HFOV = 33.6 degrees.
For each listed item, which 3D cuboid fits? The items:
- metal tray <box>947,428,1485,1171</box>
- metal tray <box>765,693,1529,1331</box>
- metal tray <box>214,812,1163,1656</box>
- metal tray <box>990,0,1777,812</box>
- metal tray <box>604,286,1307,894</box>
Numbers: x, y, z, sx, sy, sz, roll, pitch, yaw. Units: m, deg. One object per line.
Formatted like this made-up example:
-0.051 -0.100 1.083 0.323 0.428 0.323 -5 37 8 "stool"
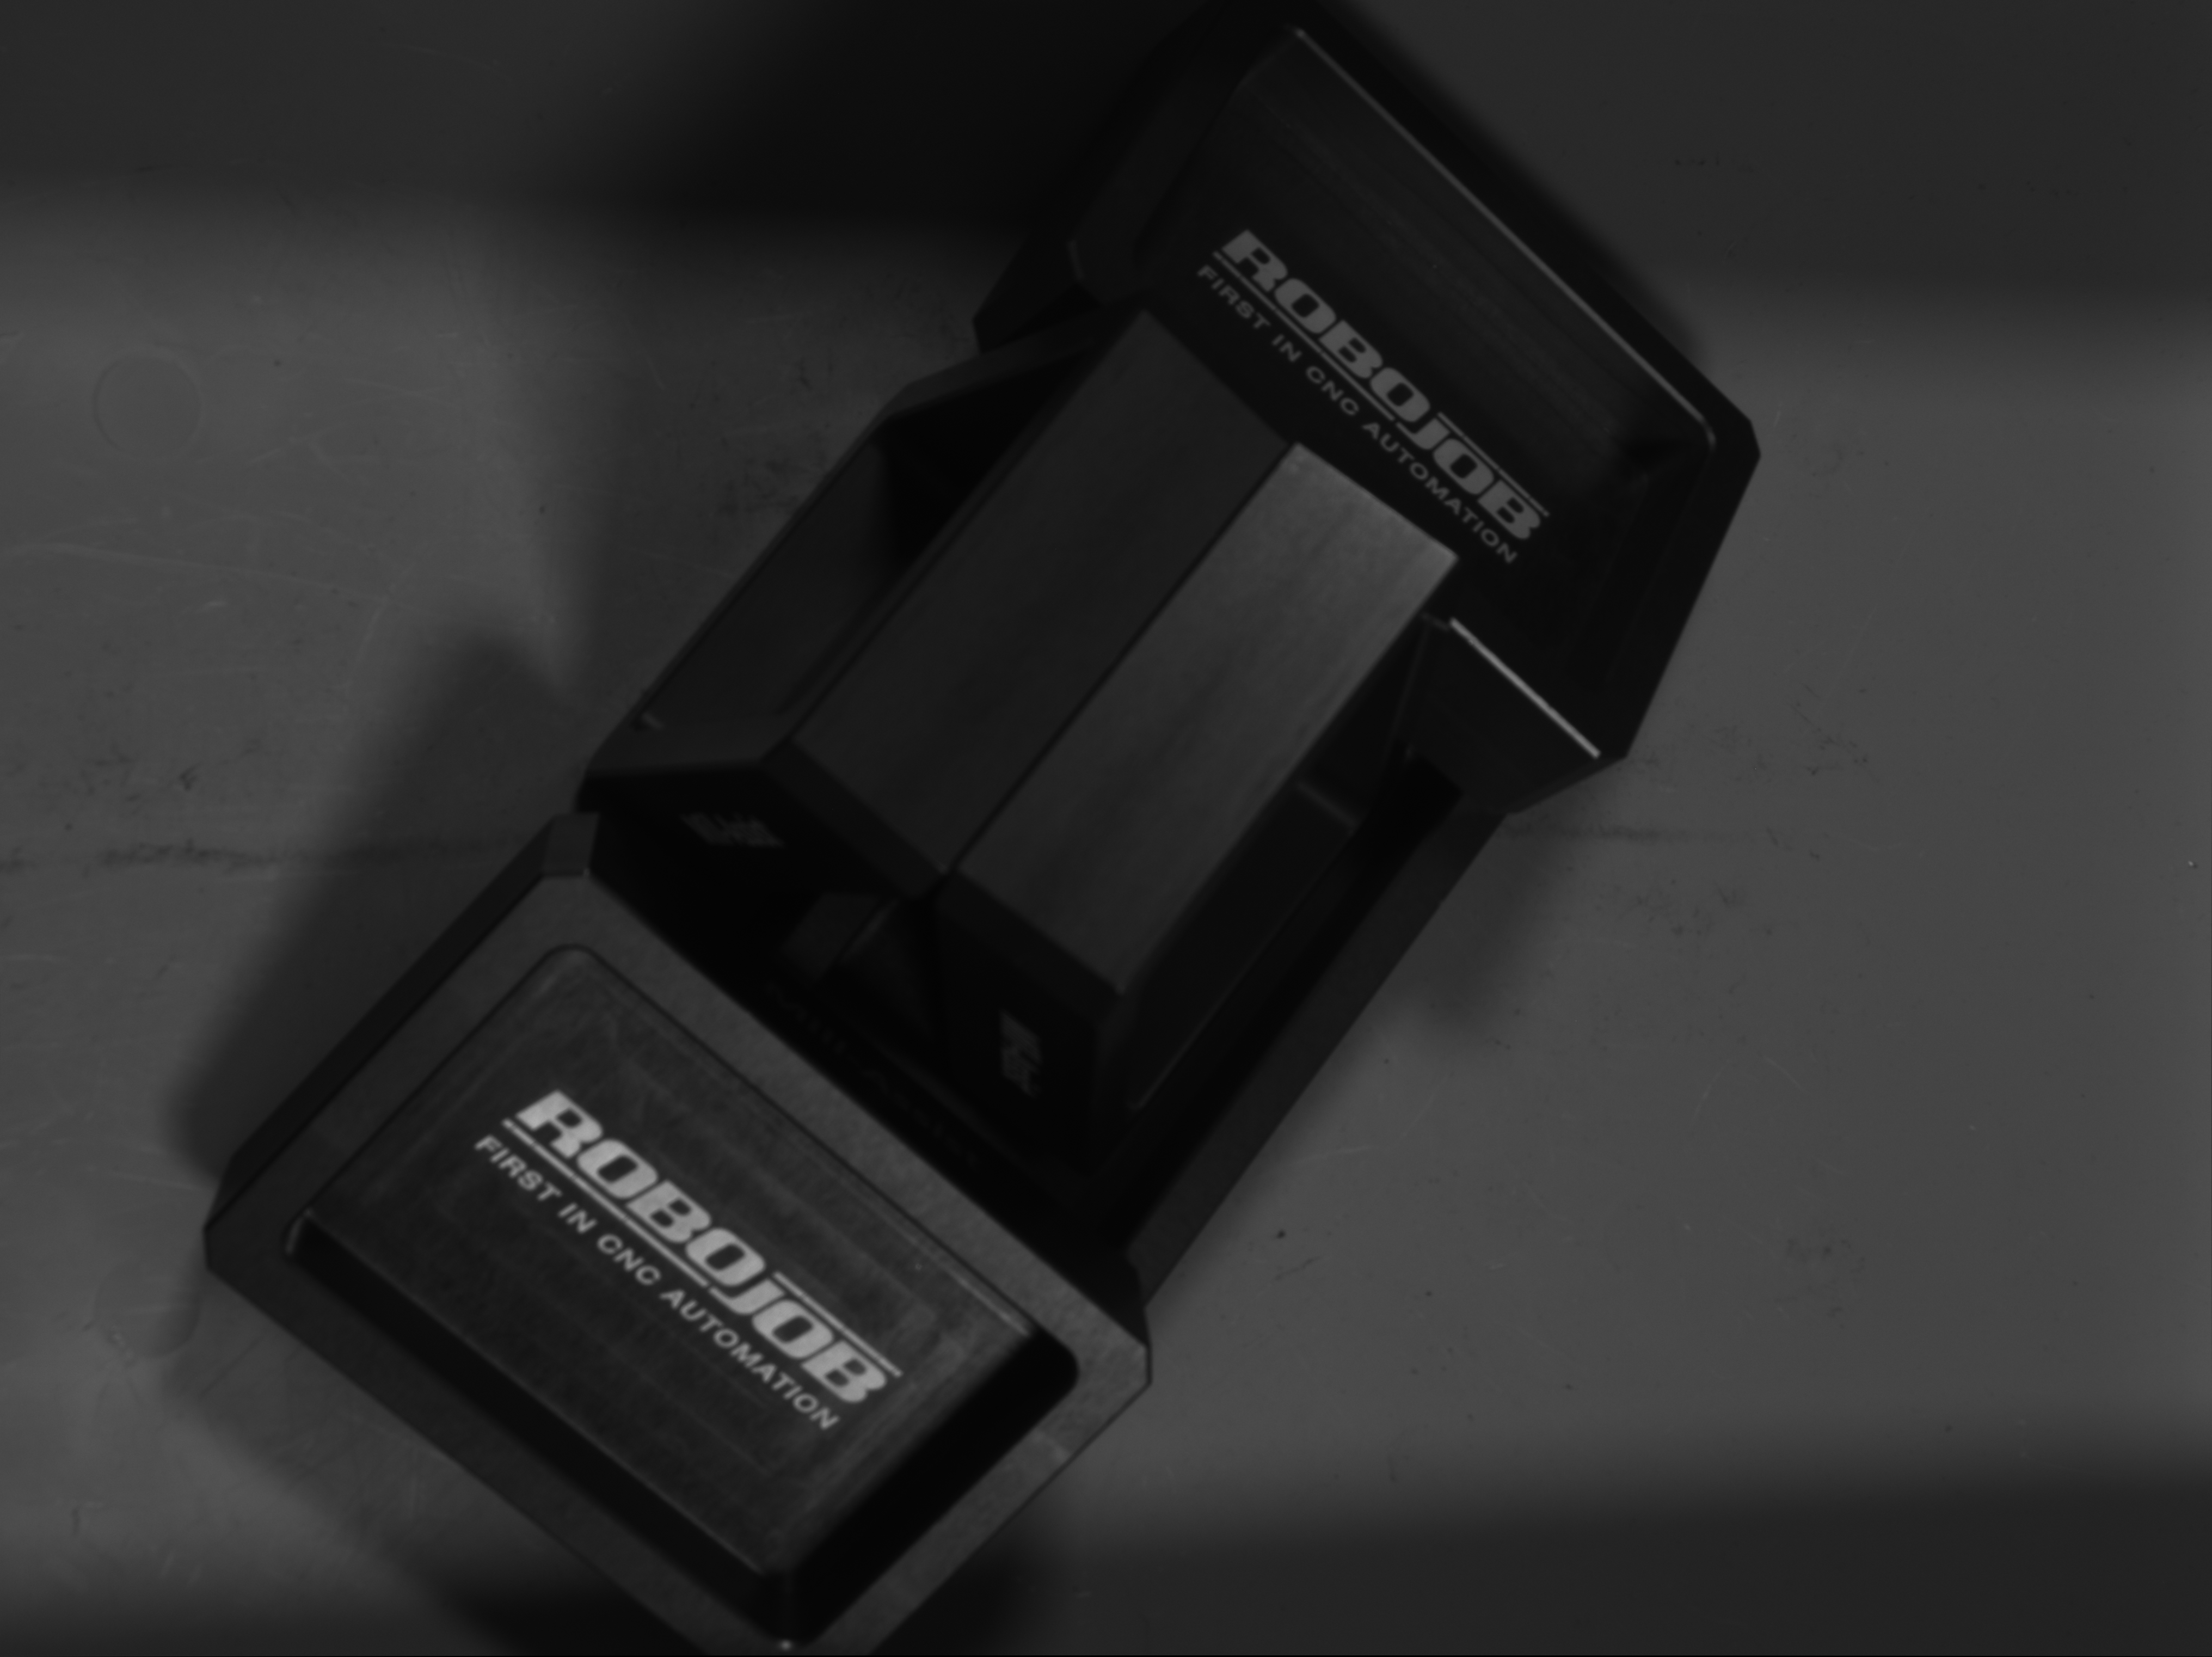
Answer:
0.015 0.000 0.579 0.030 0.130 0.090 37 77 8 "metal tray"
0.006 0.011 0.641 0.090 0.030 0.130 41 77 -15 "metal tray"
-0.066 0.072 0.597 0.130 0.030 0.090 42 101 -15 "metal tray"
0.052 -0.077 0.640 0.130 0.030 0.090 41 52 -15 "metal tray"
-0.028 -0.034 0.575 0.030 0.130 0.090 42 77 -14 "metal tray"
